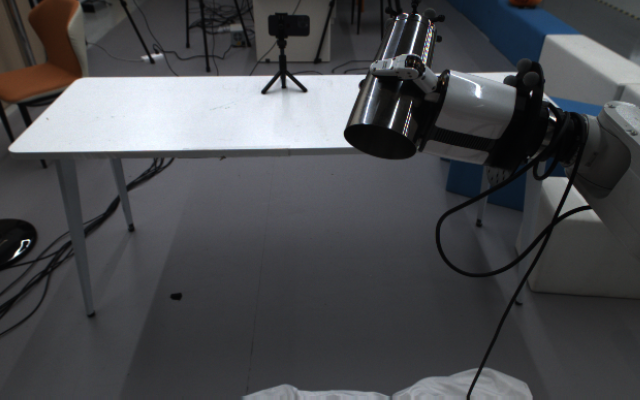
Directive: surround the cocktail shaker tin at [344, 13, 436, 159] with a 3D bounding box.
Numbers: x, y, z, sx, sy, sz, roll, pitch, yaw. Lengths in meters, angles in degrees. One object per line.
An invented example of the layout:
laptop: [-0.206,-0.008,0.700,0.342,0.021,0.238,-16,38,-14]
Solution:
cocktail shaker tin: [0.100,-0.147,0.618,0.093,0.093,0.170,13,74,15]
